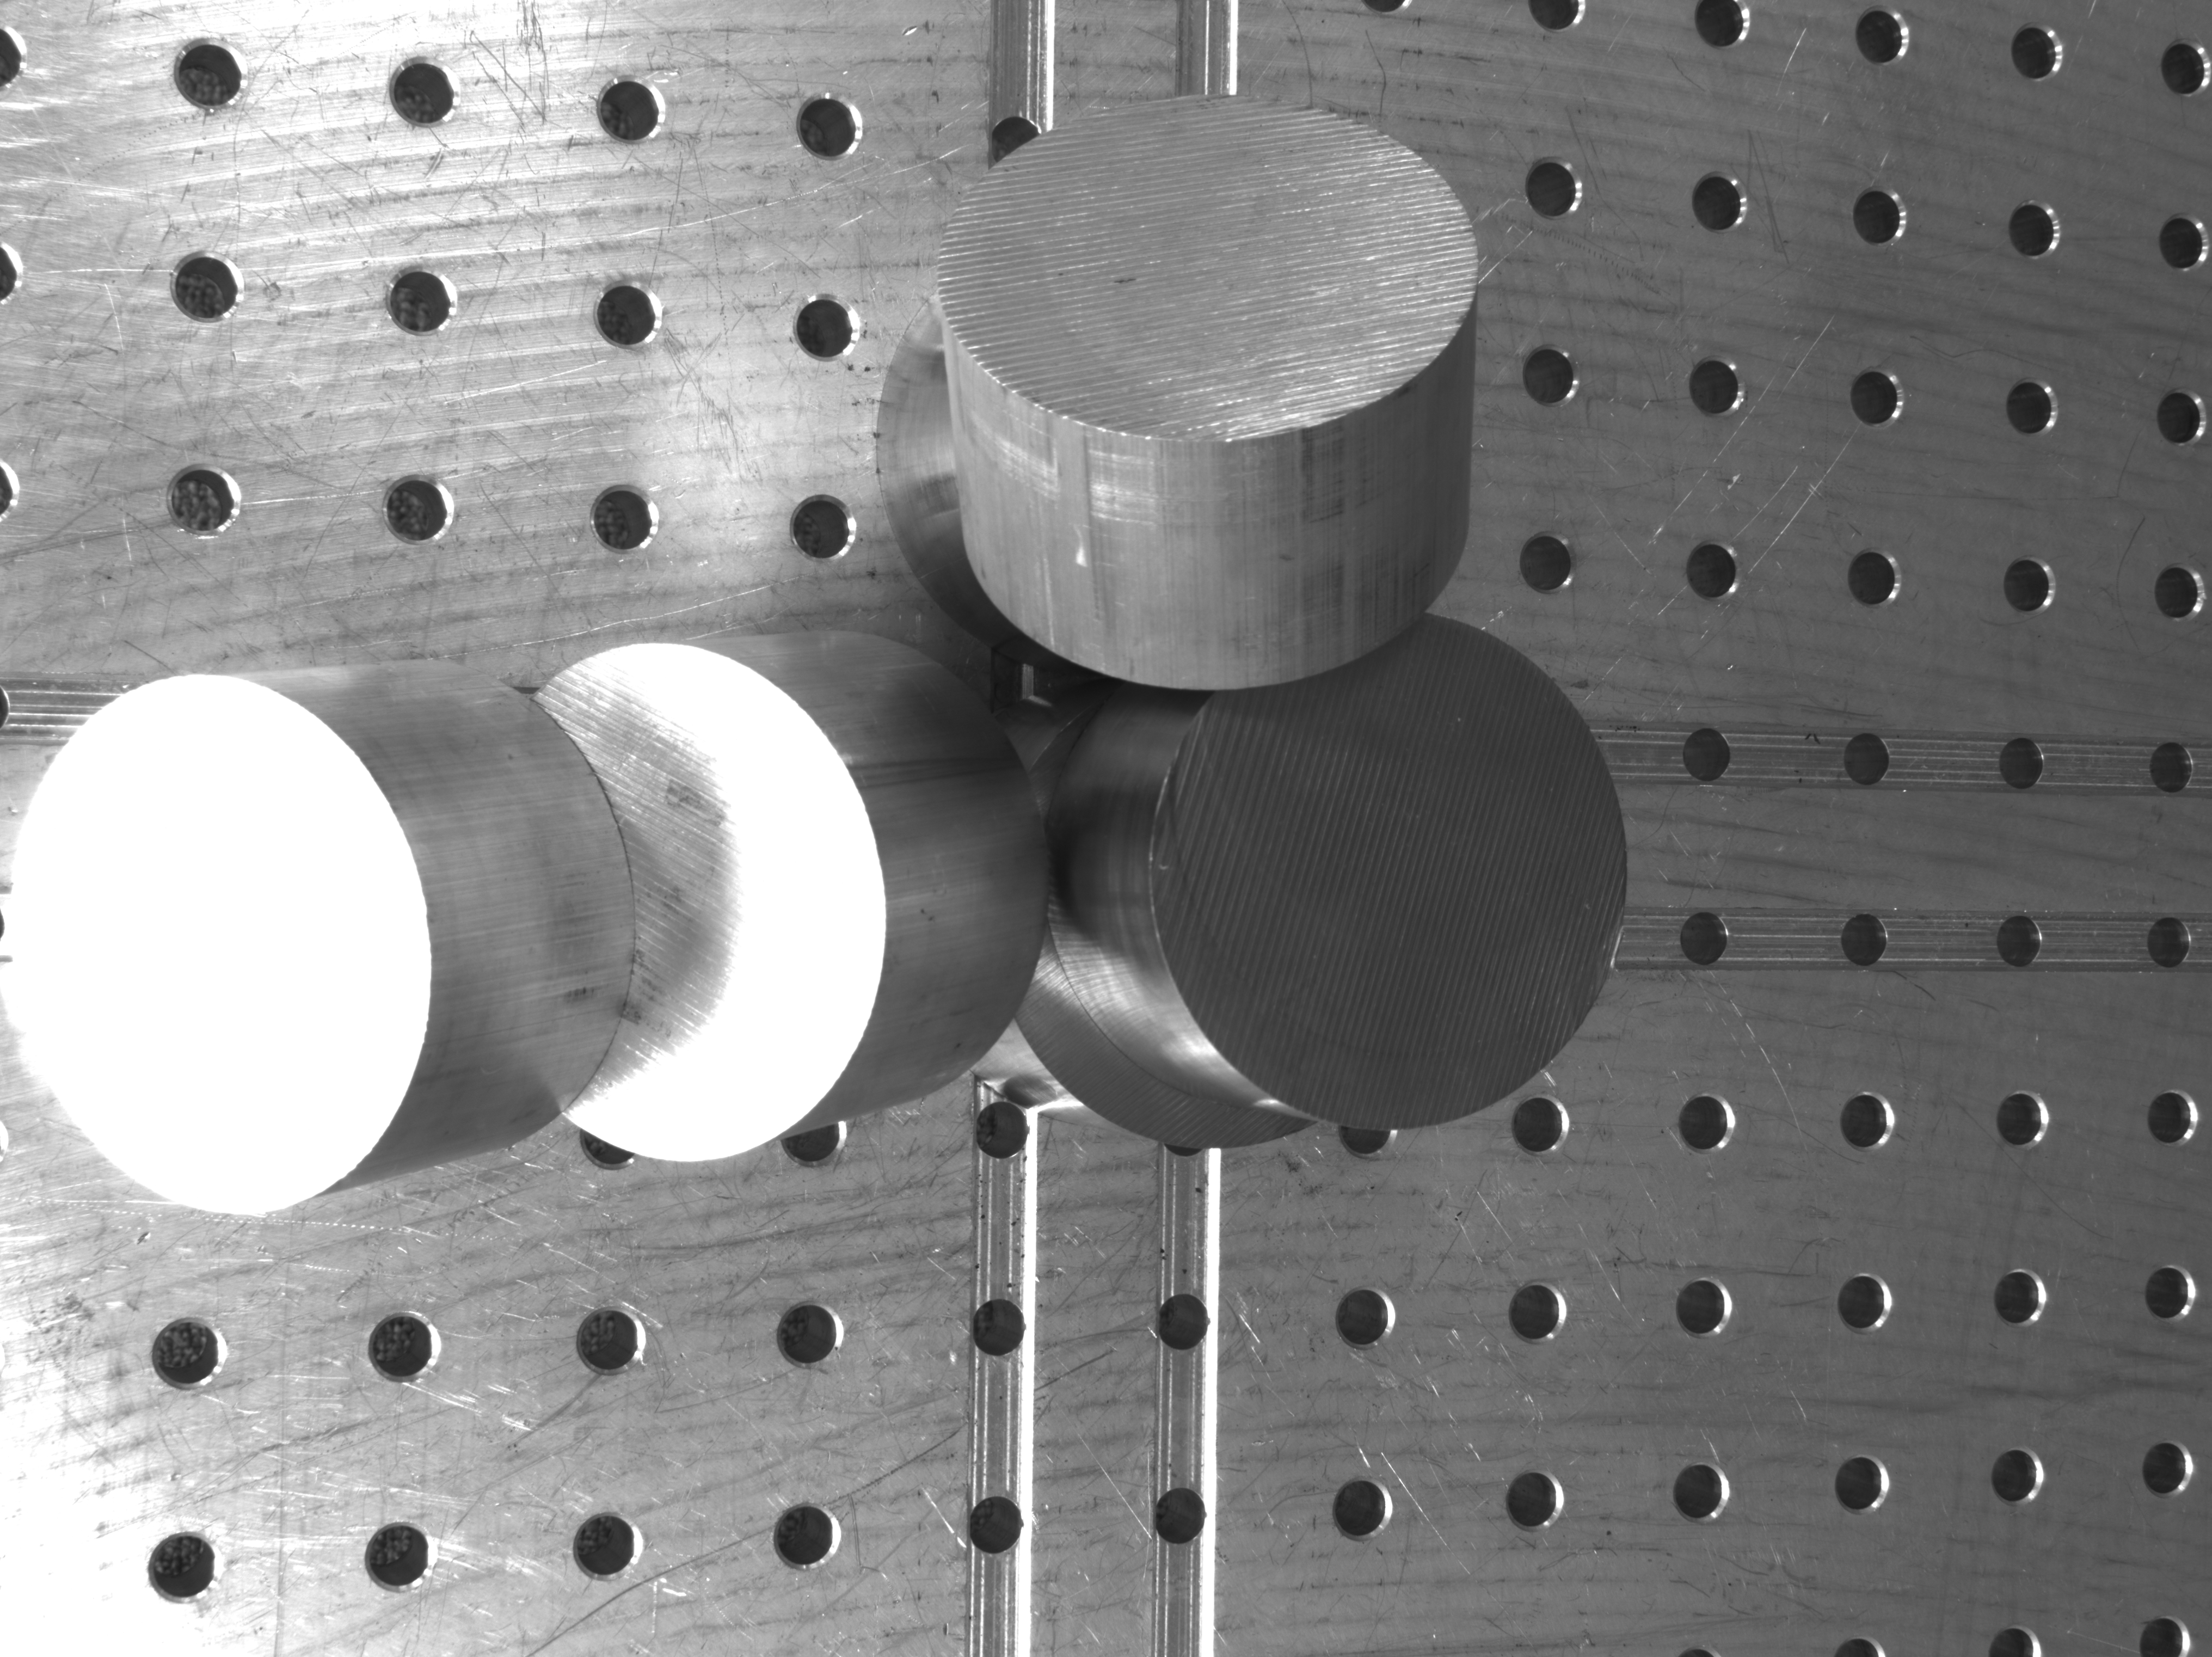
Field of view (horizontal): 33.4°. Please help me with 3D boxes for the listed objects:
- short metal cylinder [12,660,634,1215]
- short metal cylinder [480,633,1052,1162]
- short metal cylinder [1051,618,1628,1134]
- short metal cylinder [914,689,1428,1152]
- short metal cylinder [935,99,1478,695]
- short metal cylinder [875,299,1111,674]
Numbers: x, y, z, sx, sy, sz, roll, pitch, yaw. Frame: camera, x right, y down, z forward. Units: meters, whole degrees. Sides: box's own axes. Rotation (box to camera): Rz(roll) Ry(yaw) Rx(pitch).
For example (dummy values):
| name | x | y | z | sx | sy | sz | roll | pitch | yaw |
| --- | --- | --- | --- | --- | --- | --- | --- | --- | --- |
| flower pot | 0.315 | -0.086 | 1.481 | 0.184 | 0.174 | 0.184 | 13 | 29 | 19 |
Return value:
| name | x | y | z | sx | sy | sz | roll | pitch | yaw |
| --- | --- | --- | --- | --- | --- | --- | --- | --- | --- |
| short metal cylinder | -0.120 | 0.015 | 0.566 | 0.050 | 0.080 | 0.080 | -11 | 95 | -62 |
| short metal cylinder | -0.056 | 0.010 | 0.589 | 0.050 | 0.080 | 0.080 | -10 | 95 | -61 |
| short metal cylinder | 0.036 | 0.007 | 0.591 | 0.080 | 0.050 | 0.080 | 0 | 90 | -20 |
| short metal cylinder | 0.010 | 0.014 | 0.636 | 0.080 | 0.050 | 0.080 | 0 | 90 | -20 |
| short metal cylinder | 0.016 | -0.066 | 0.562 | 0.080 | 0.080 | 0.050 | -25 | 141 | -18 |
| short metal cylinder | 0.006 | -0.067 | 0.634 | 0.080 | 0.050 | 0.080 | 0 | 90 | -20 |
